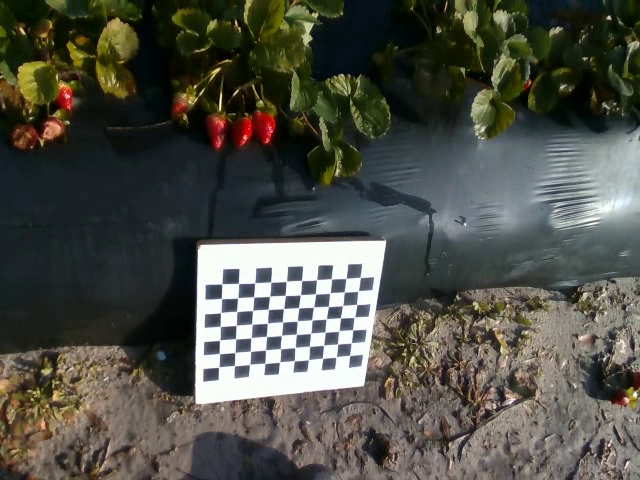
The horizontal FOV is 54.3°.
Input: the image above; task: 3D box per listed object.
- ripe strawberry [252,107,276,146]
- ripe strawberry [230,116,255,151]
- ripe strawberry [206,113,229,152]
[{"bbox_3d":[-0.069,-0.134,0.756,0.035,0.041,0.033,-6,-28,-14],"label":"ripe strawberry"},{"bbox_3d":[-0.095,-0.132,0.744,0.031,0.039,0.036,8,-46,-19],"label":"ripe strawberry"},{"bbox_3d":[-0.125,-0.132,0.743,0.032,0.045,0.023,-2,7,-16],"label":"ripe strawberry"}]
